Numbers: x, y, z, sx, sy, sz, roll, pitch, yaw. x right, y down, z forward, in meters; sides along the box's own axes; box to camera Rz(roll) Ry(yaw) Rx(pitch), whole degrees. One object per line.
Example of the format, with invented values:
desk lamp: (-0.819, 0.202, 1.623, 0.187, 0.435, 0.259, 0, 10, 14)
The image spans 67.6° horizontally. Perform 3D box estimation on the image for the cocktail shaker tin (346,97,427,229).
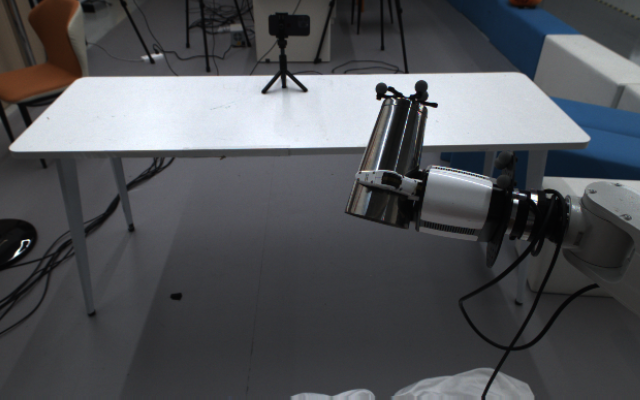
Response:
cocktail shaker tin: (0.100, -0.052, 0.685, 0.093, 0.170, 0.093, 15, -4, 1)
